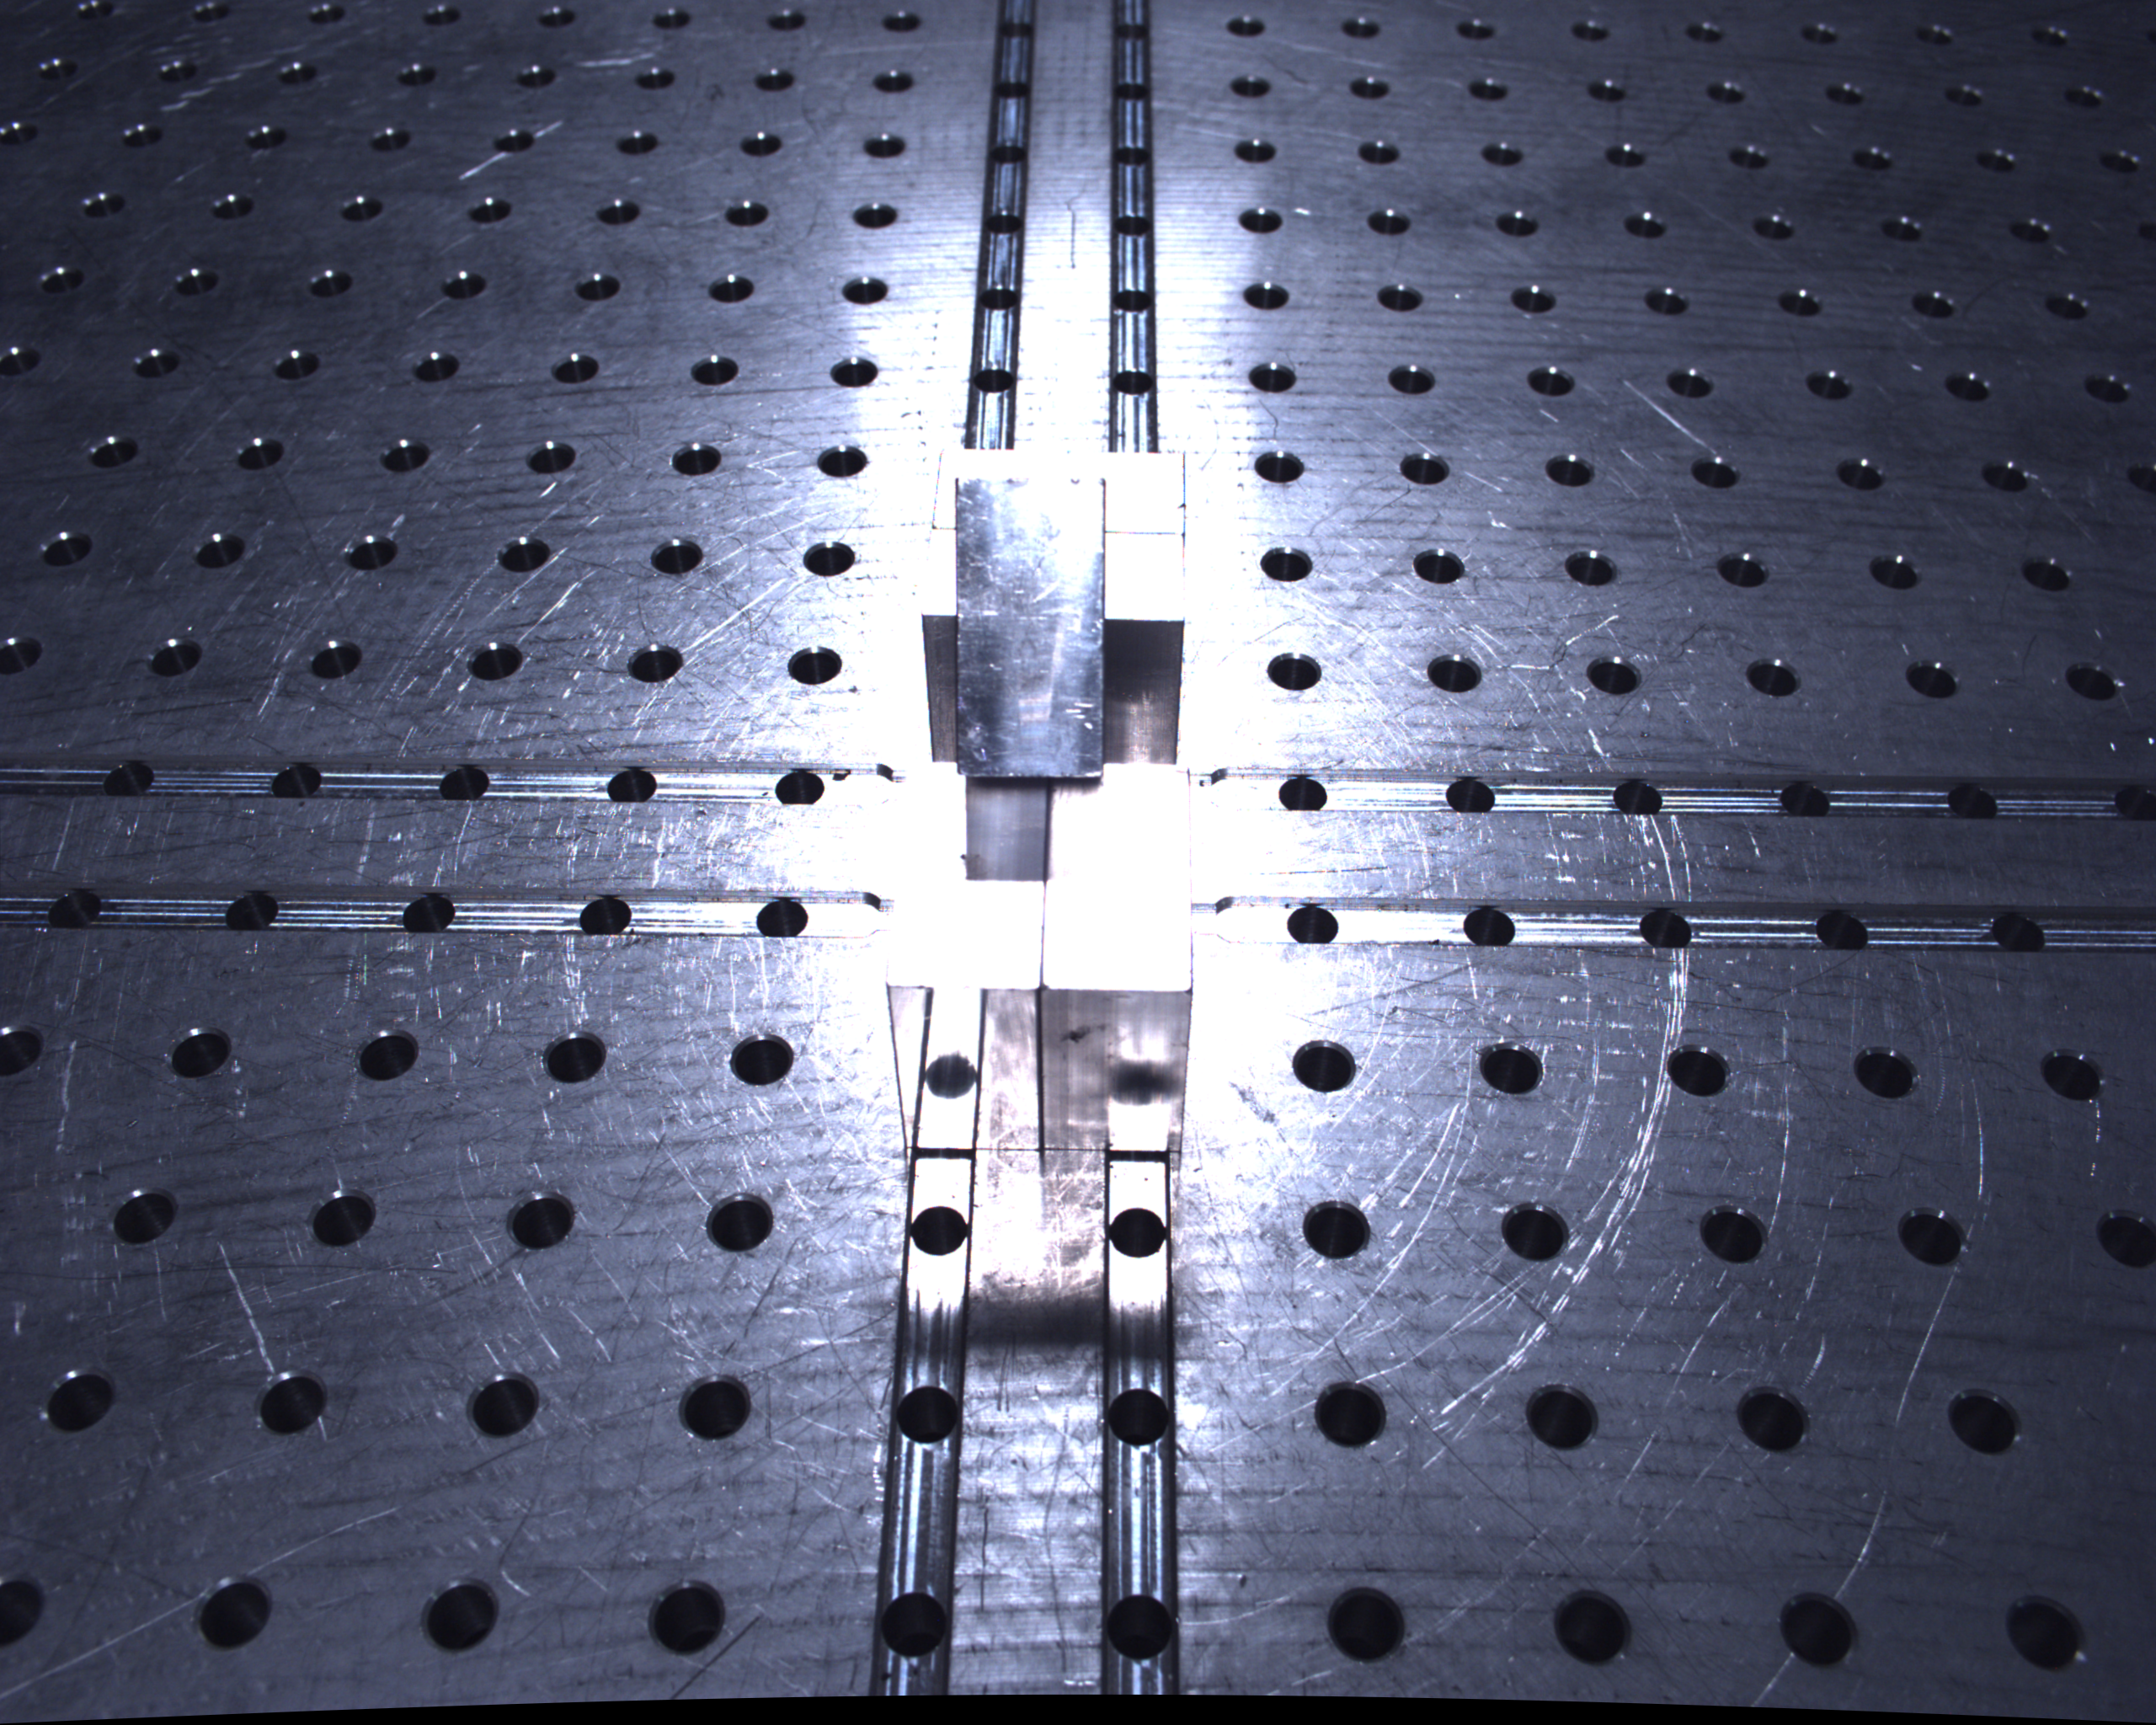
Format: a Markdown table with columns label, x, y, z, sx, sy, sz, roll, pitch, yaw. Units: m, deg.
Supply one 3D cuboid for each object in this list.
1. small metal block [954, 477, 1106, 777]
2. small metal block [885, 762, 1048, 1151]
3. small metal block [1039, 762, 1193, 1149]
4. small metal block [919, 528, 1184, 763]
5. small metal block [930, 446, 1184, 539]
| label | x | y | z | sx | sy | sz | roll | pitch | yaw |
| --- | --- | --- | --- | --- | --- | --- | --- | --- | --- |
| small metal block | -0.008 | -0.043 | 0.373 | 0.025 | 0.050 | 0.050 | 0 | 8 | 1 |
| small metal block | -0.019 | 0.017 | 0.376 | 0.025 | 0.050 | 0.050 | 1 | 50 | 1 |
| small metal block | 0.007 | 0.017 | 0.376 | 0.025 | 0.050 | 0.050 | 1 | 50 | 1 |
| small metal block | -0.005 | -0.040 | 0.424 | 0.050 | 0.050 | 0.025 | 2 | 50 | 1 |
| small metal block | -0.004 | -0.060 | 0.441 | 0.050 | 0.050 | 0.025 | 2 | 50 | 1 |
